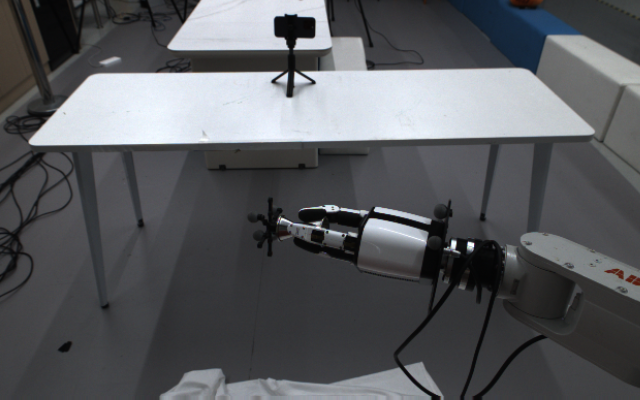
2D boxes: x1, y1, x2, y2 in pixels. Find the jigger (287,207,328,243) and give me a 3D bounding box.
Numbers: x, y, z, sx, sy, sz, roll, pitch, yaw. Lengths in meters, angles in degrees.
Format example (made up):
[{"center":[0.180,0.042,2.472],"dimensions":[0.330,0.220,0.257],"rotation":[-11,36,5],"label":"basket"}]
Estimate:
[{"center":[-0.017,0.039,0.701],"dimensions":[0.071,0.043,0.043],"rotation":[3,34,17],"label":"jigger"}]
